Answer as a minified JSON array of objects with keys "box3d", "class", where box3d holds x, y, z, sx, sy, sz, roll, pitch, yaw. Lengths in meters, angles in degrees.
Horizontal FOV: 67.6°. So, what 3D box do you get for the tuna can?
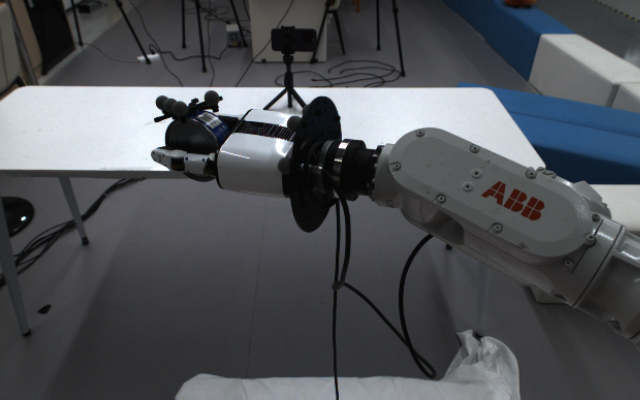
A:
[{"box3d":[-0.148,-0.068,0.609,0.085,0.085,0.034,17,35,20],"class":"tuna can"}]
